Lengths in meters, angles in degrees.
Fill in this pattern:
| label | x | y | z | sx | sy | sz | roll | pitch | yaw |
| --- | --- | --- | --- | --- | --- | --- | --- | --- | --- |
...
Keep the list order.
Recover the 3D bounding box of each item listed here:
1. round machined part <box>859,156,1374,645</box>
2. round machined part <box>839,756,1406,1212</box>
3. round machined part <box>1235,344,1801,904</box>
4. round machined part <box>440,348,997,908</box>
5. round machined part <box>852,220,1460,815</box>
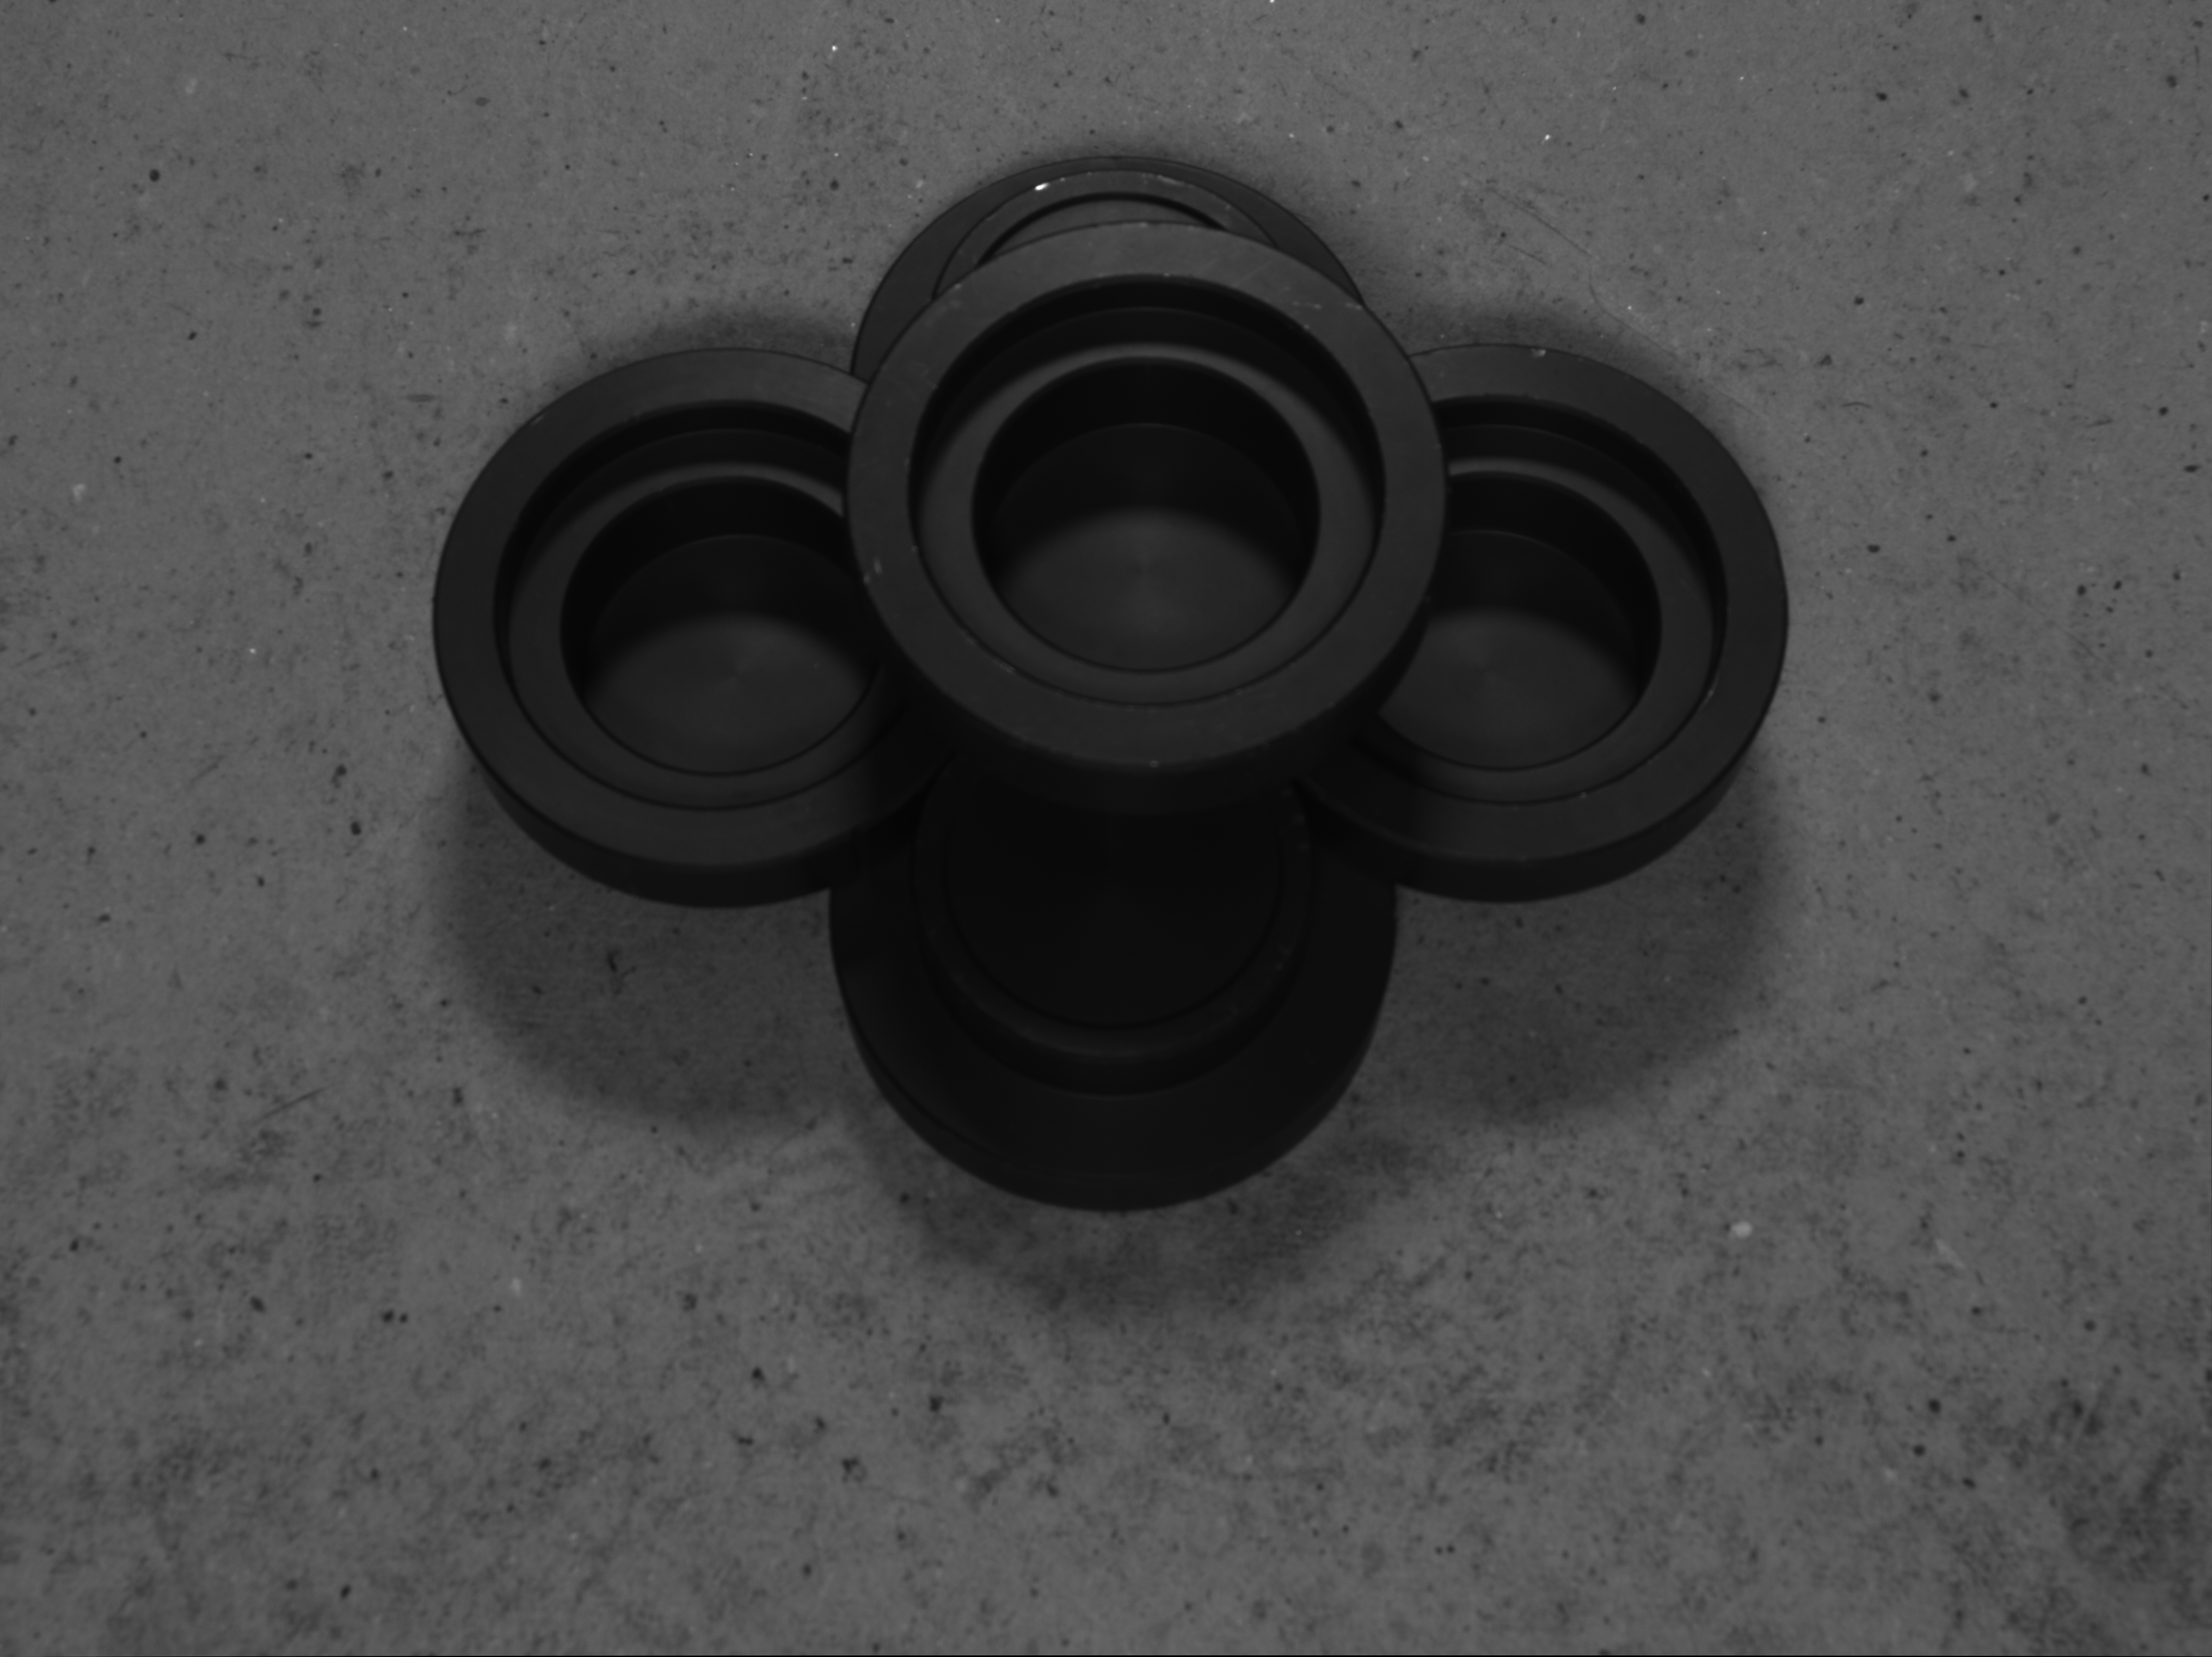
| label | x | y | z | sx | sy | sz | roll | pitch | yaw |
| --- | --- | --- | --- | --- | --- | --- | --- | --- | --- |
| round machined part | 0.004 | -0.080 | 0.665 | 0.098 | 0.042 | 0.098 | 0 | 70 | 0 |
| round machined part | 0.003 | 0.013 | 0.631 | 0.098 | 0.042 | 0.098 | 0 | 70 | 0 |
| round machined part | 0.070 | -0.033 | 0.648 | 0.098 | 0.042 | 0.098 | 0 | 70 | 0 |
| round machined part | -0.065 | -0.032 | 0.647 | 0.098 | 0.042 | 0.098 | 0 | 70 | 0 |
| round machined part | 0.008 | -0.048 | 0.608 | 0.098 | 0.042 | 0.098 | 0 | 70 | 0 |
